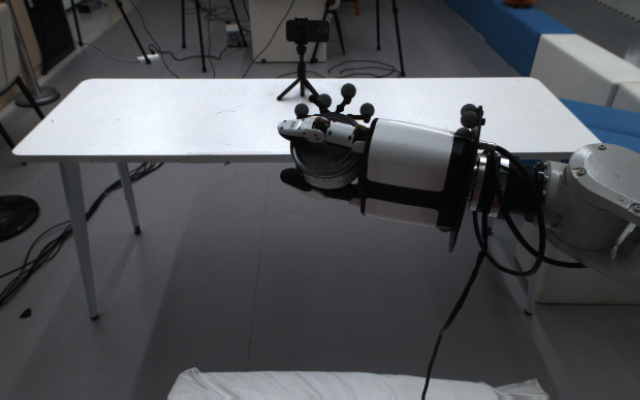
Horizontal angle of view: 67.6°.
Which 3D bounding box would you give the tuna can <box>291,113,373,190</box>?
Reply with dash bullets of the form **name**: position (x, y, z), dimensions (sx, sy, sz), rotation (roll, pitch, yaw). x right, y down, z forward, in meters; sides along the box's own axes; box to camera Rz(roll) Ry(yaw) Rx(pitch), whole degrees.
- **tuna can**: position (0.013, -0.052, 0.554), dimensions (0.085, 0.034, 0.085), rotation (-4, 62, 7)
